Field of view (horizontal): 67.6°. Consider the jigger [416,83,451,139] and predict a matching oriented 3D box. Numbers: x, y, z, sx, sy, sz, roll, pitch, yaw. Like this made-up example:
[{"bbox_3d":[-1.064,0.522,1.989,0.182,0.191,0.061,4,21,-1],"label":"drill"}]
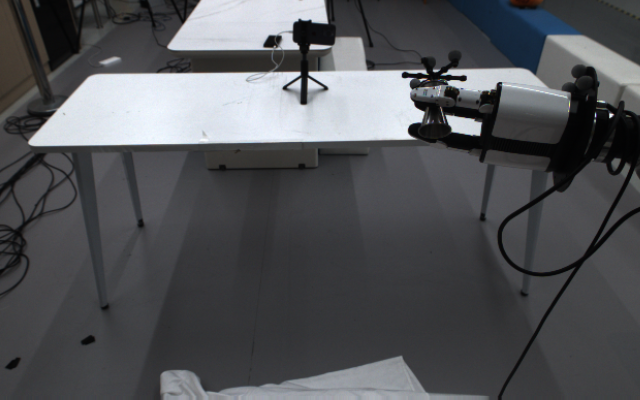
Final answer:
[{"bbox_3d":[0.154,-0.125,0.660,0.043,0.043,0.071,4,71,2],"label":"jigger"}]
